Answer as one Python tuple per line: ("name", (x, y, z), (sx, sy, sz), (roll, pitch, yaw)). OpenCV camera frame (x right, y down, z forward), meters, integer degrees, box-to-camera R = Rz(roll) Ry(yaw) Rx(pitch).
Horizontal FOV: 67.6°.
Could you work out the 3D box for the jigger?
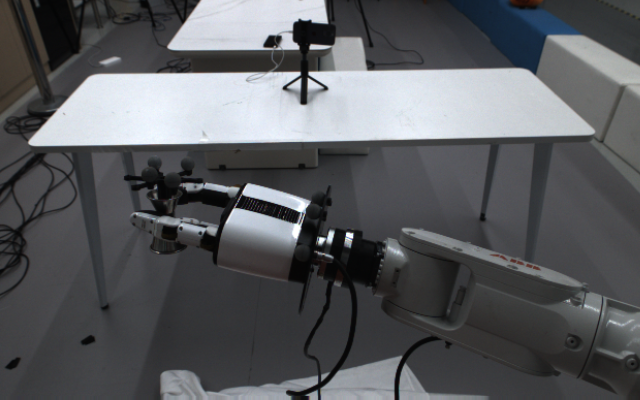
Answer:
("jigger", (-0.181, 0.023, 0.578), (0.043, 0.071, 0.043), (2, 20, -1))
